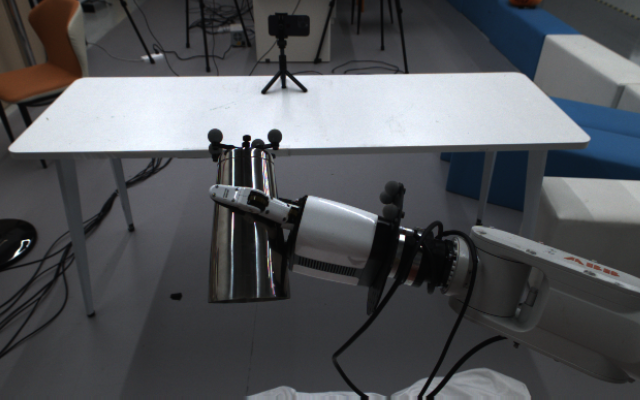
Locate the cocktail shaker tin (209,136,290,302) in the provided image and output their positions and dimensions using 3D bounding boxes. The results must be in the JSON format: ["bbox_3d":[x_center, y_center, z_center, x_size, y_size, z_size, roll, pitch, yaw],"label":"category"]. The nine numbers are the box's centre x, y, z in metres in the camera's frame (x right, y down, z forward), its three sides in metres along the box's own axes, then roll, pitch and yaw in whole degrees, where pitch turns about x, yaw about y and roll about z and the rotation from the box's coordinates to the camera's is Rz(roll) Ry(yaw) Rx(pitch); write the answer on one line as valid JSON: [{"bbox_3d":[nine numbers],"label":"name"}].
[{"bbox_3d":[-0.084,0.032,0.561,0.093,0.093,0.170,-3,76,-7],"label":"cocktail shaker tin"}]
